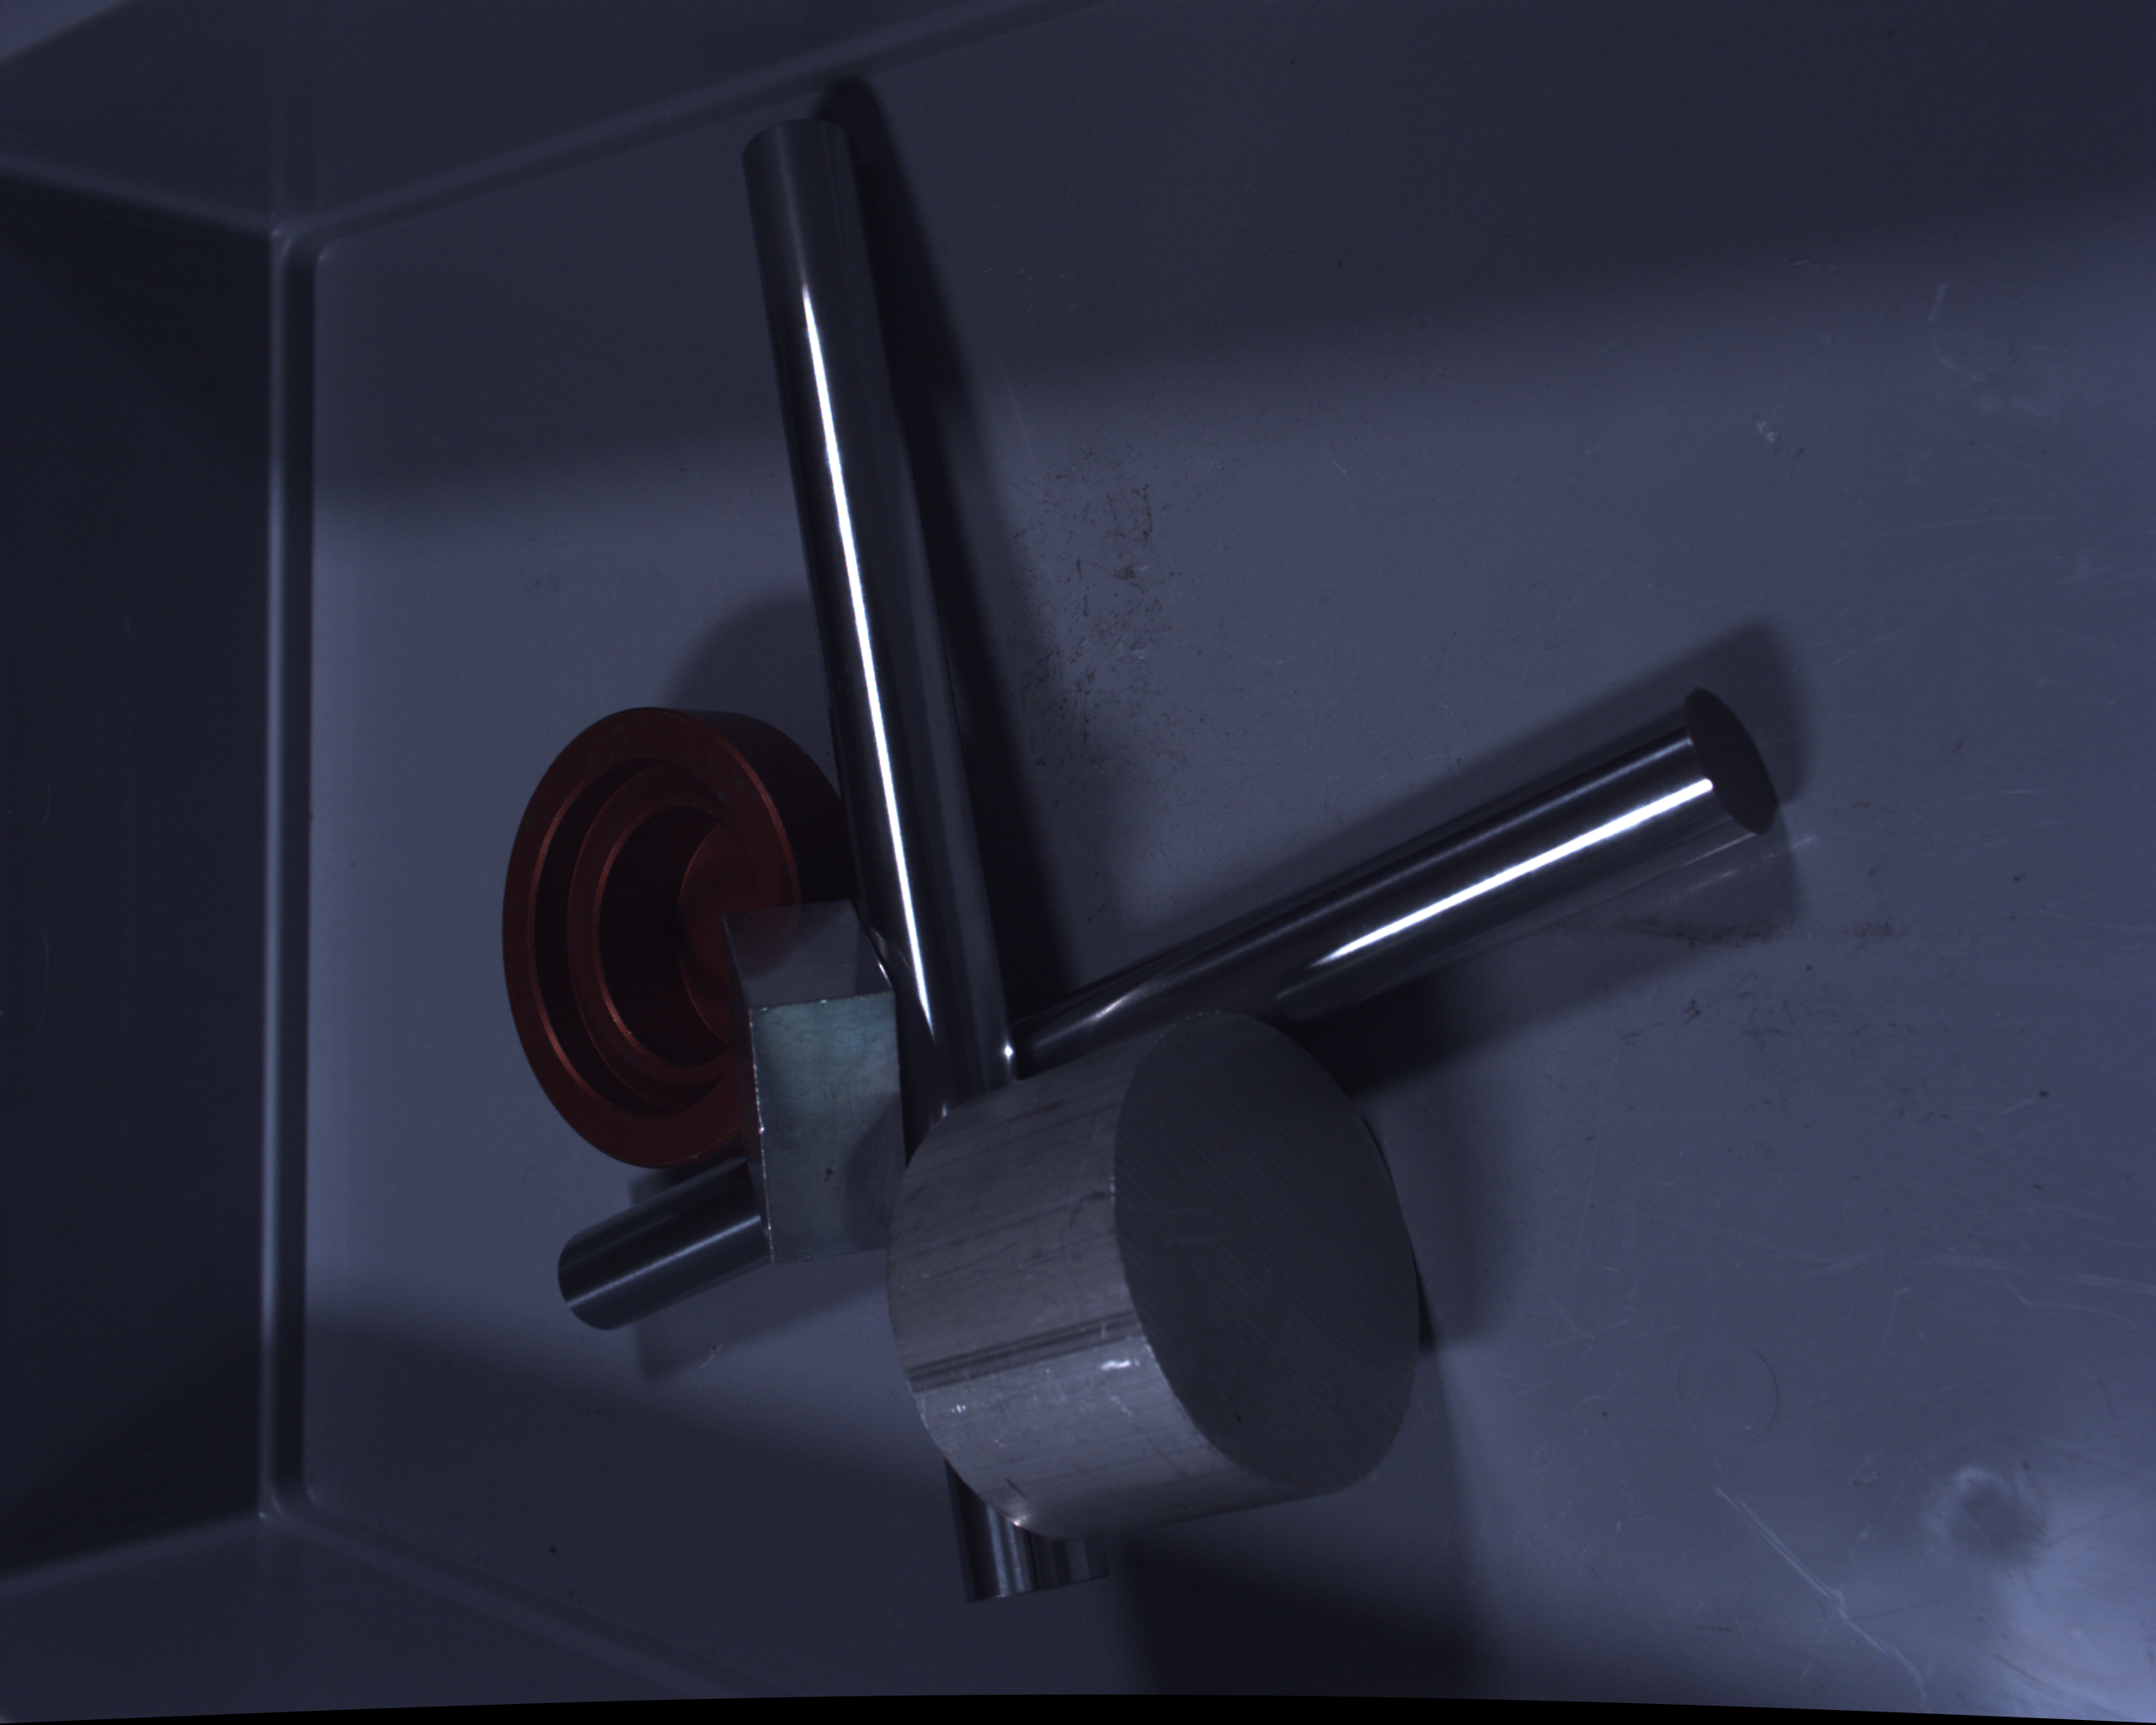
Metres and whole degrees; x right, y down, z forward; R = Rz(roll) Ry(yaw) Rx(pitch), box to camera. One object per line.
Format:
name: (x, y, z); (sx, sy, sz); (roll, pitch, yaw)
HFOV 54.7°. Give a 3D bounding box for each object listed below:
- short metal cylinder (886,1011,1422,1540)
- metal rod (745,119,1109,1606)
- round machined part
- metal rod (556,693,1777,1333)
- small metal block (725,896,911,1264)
short metal cylinder: (0.014, 0.071, 0.356); (0.050, 0.081, 0.080); (-25, 75, 37)
metal rod: (-0.033, -0.013, 0.407); (0.025, 0.025, 0.299); (-24, 68, 37)
round machined part: (-0.079, 0.015, 0.457); (0.098, 0.042, 0.097); (0, 90, 39)
metal rod: (-0.006, 0.042, 0.408); (0.299, 0.025, 0.025); (-28, 73, 36)
small metal block: (-0.048, 0.039, 0.389); (0.050, 0.025, 0.050); (-130, 36, -66)
